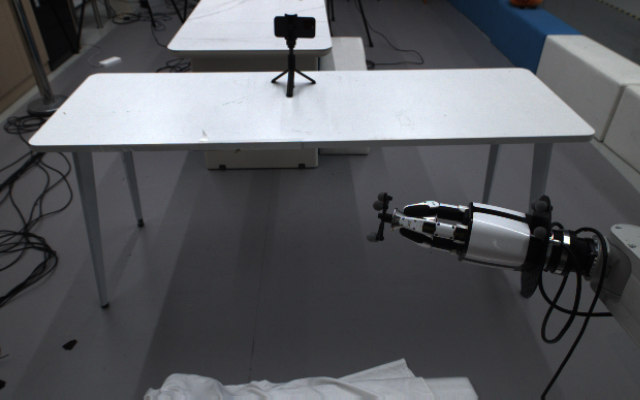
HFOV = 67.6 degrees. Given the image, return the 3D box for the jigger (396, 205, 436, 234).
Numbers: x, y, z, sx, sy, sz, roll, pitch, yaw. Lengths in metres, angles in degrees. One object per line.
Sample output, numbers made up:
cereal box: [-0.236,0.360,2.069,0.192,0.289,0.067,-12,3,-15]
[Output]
jigger: [0.159,0.033,0.784,0.071,0.043,0.043,10,35,16]
